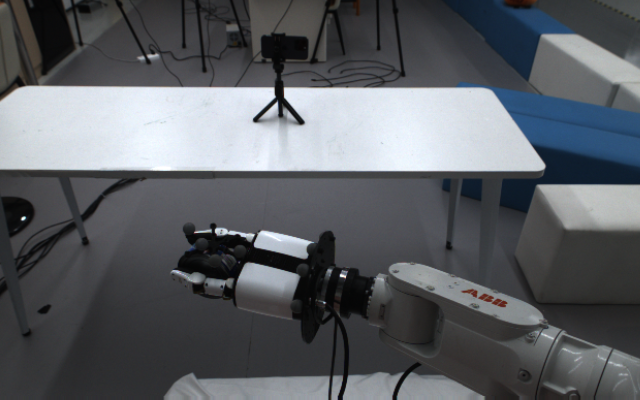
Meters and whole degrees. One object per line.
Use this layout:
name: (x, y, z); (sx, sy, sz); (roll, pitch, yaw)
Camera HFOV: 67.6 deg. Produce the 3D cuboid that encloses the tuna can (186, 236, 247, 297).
tuna can: (-0.158, 0.101, 0.705); (0.085, 0.085, 0.034); (12, 33, 14)
